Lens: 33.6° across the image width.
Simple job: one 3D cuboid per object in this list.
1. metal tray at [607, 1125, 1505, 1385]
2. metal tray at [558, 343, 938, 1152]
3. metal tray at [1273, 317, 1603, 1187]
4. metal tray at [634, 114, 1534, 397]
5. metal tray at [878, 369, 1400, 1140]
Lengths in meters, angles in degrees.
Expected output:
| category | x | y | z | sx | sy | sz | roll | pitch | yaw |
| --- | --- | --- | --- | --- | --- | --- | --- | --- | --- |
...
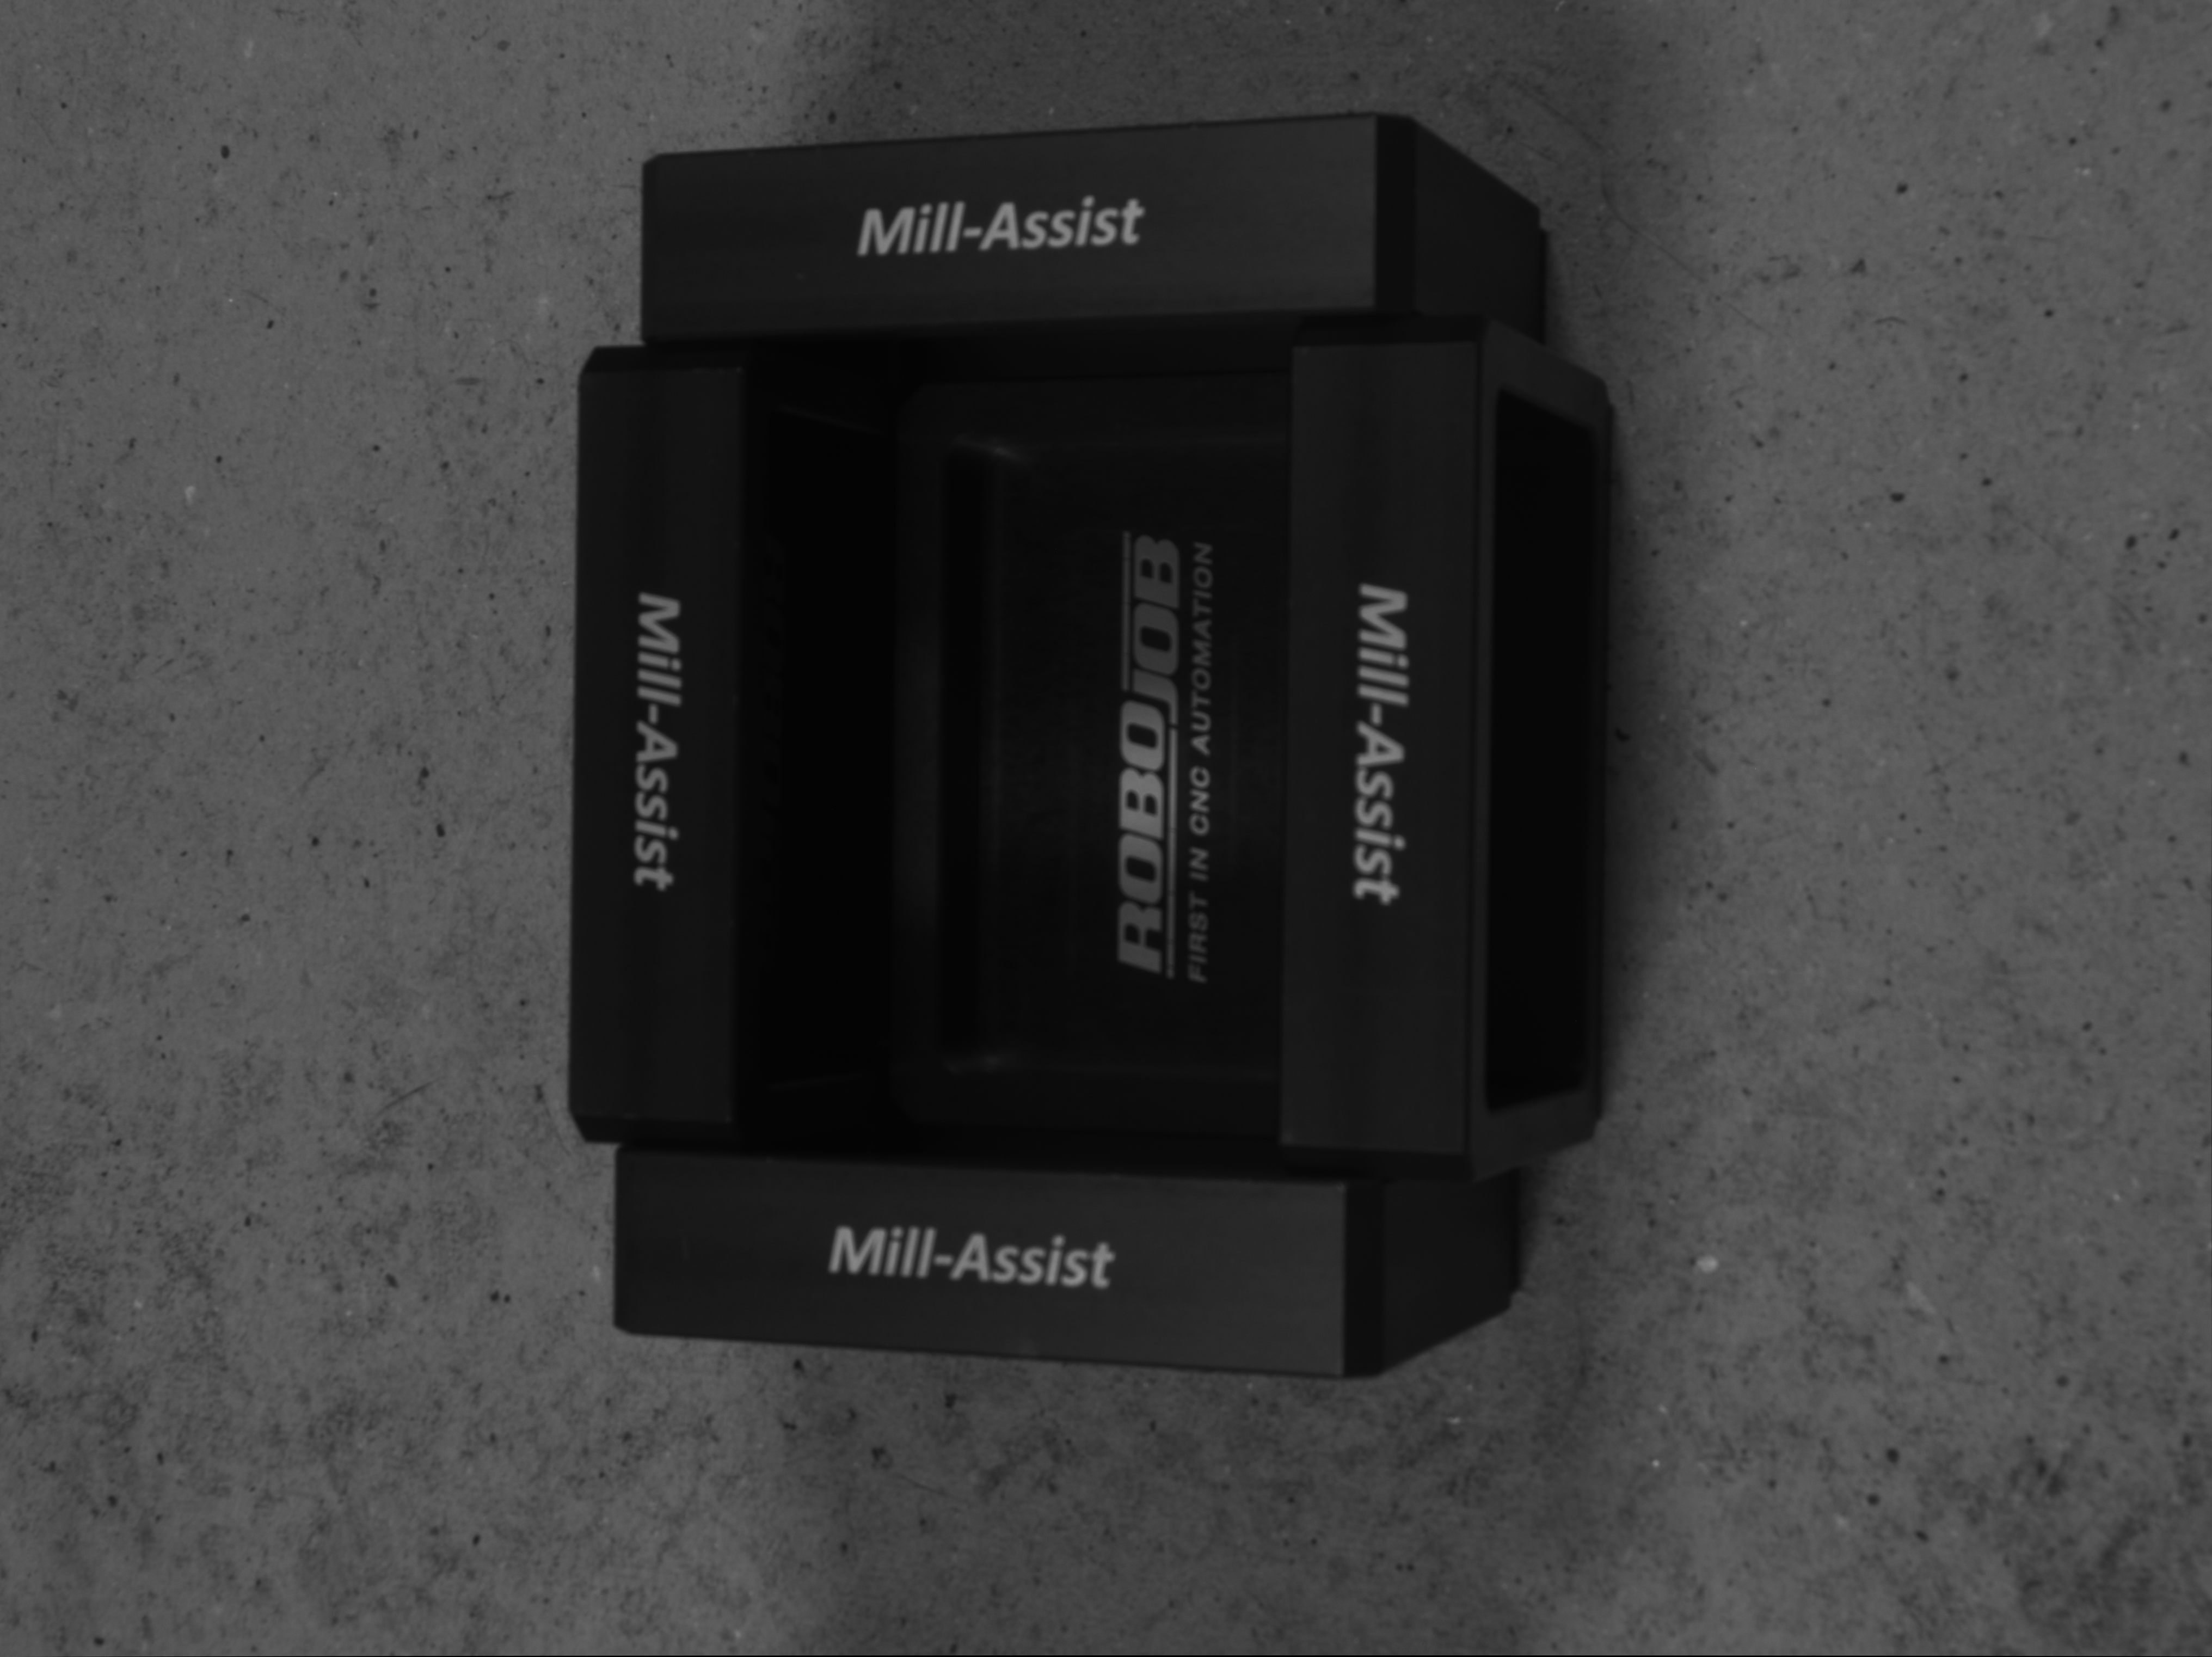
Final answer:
| category | x | y | z | sx | sy | sz | roll | pitch | yaw |
| --- | --- | --- | --- | --- | --- | --- | --- | --- | --- |
| metal tray | -0.006 | 0.068 | 0.611 | 0.130 | 0.090 | 0.030 | 1 | 90 | 20 |
| metal tray | -0.059 | -0.013 | 0.630 | 0.030 | 0.090 | 0.130 | 1 | 90 | 20 |
| metal tray | 0.055 | -0.011 | 0.590 | 0.030 | 0.090 | 0.130 | 1 | 90 | 20 |
| metal tray | -0.002 | -0.093 | 0.610 | 0.130 | 0.090 | 0.030 | 1 | 90 | 20 |
| metal tray | 0.008 | -0.013 | 0.639 | 0.090 | 0.030 | 0.130 | 1 | 90 | 20 |
